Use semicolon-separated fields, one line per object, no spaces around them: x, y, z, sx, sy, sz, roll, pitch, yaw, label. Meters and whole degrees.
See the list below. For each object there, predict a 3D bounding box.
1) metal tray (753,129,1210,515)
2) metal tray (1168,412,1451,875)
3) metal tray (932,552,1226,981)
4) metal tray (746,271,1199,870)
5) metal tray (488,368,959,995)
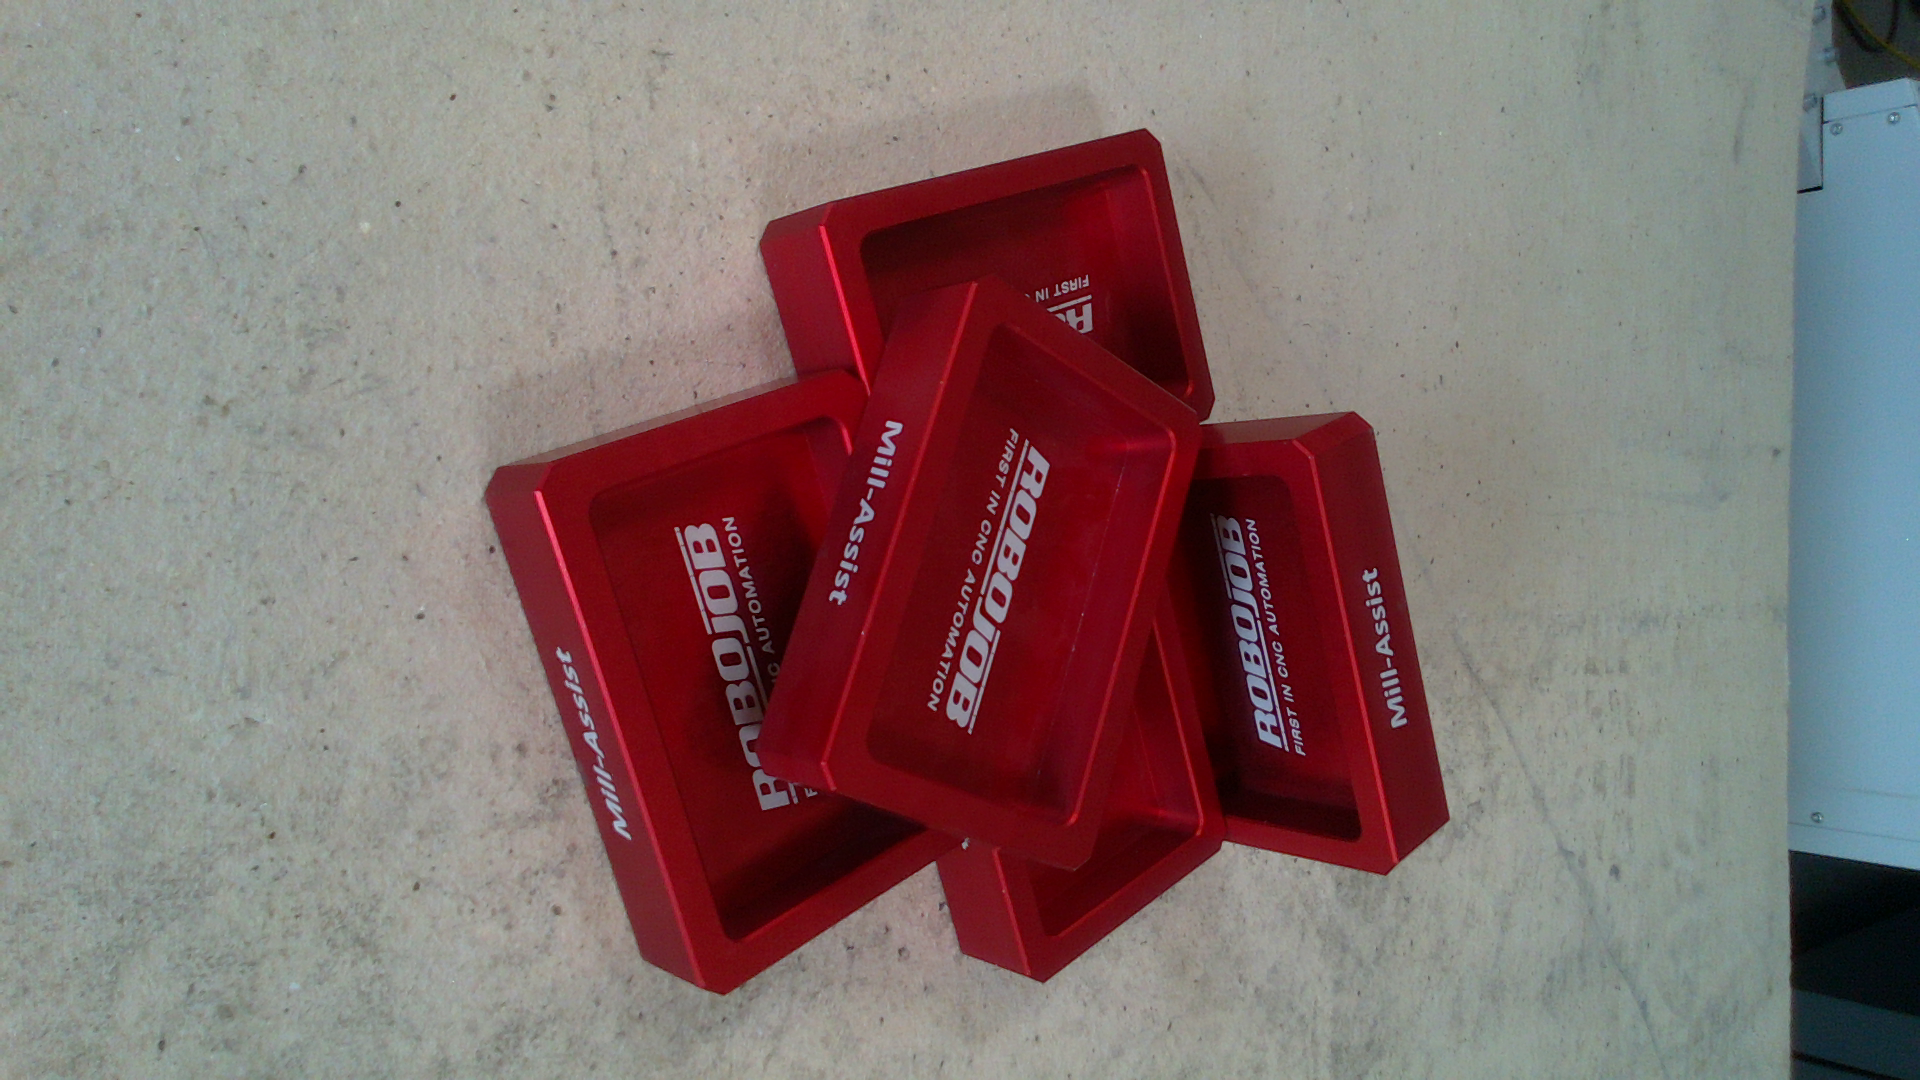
0.012;-0.062;0.397;0.130;0.030;0.090;-23;105;-37;metal tray
0.092;0.030;0.421;0.030;0.090;0.130;-23;105;-38;metal tray
0.028;0.049;0.407;0.090;0.030;0.130;-24;106;-36;metal tray
0.008;0.009;0.355;0.090;0.030;0.130;27;74;-36;metal tray
-0.051;0.032;0.342;0.090;0.030;0.130;-24;105;-37;metal tray
